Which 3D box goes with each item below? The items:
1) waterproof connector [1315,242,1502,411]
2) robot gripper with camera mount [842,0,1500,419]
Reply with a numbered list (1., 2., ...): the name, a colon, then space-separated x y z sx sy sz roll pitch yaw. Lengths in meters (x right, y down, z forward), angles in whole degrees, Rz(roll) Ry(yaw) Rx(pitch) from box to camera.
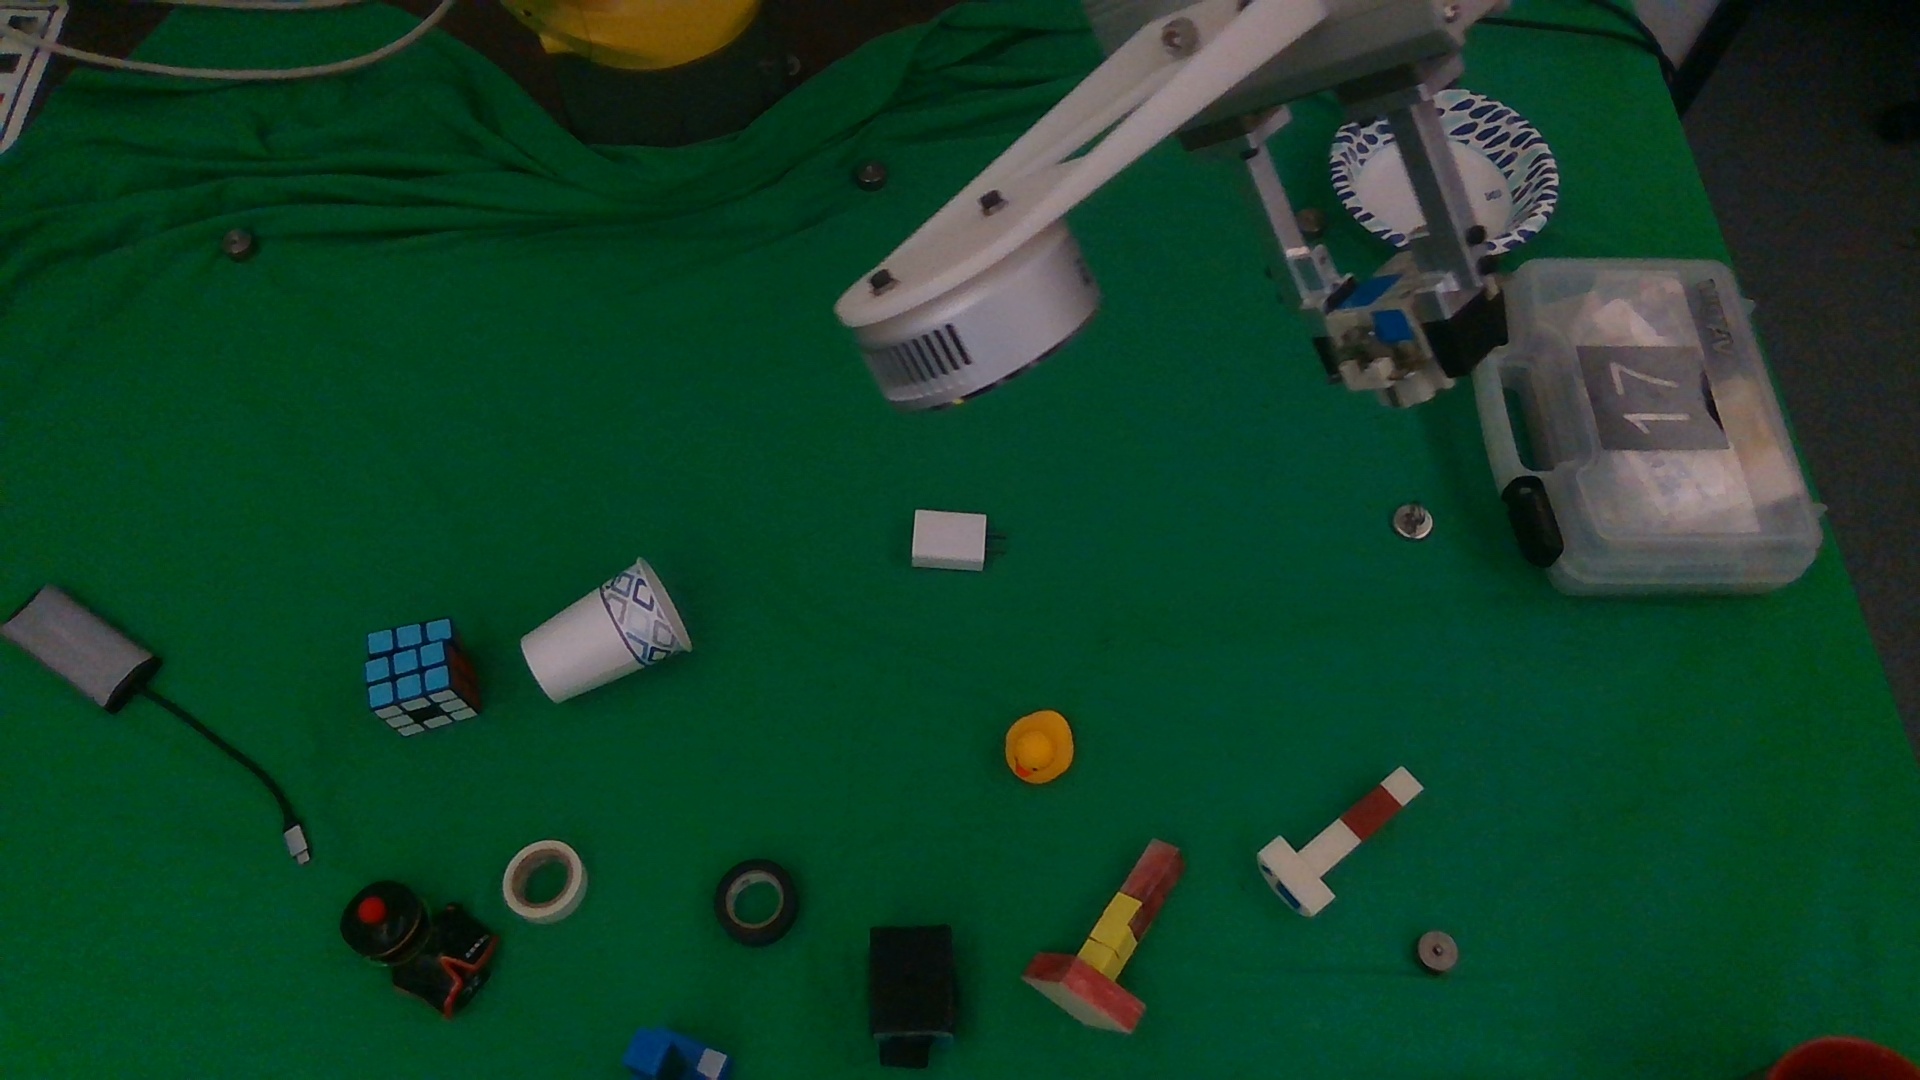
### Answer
1. waterproof connector: 0.146 -0.069 0.451 0.065 0.035 0.037 -40 109 -27
2. robot gripper with camera mount: 0.061 -0.076 0.381 0.119 0.158 0.193 1 37 50
